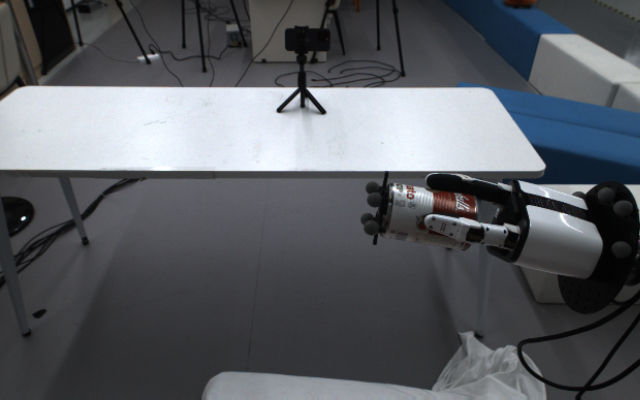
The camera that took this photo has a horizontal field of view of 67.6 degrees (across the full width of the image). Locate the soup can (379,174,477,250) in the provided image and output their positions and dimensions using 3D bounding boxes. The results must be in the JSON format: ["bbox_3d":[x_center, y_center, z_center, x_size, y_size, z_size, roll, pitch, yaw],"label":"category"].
[{"bbox_3d":[0.130,0.018,0.578,0.101,0.067,0.067,9,35,0],"label":"soup can"}]
